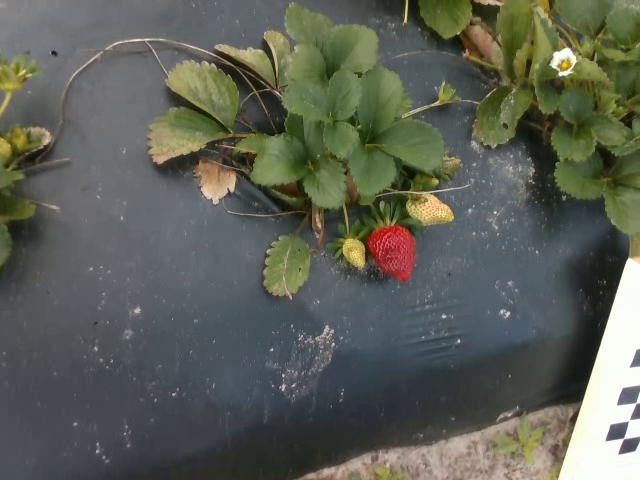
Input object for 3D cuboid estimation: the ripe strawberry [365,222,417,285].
[{"bbox_3d":[0.064,0.016,0.552,0.046,0.059,0.046,-9,-40,-11],"label":"ripe strawberry"}]
